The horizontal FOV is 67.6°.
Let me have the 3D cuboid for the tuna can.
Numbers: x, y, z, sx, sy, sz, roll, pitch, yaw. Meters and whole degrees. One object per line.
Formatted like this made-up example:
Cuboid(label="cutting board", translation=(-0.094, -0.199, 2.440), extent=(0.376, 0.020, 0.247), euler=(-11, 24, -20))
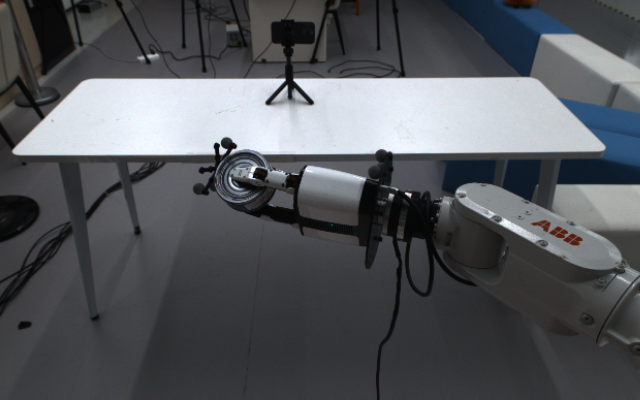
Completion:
Cuboid(label="tuna can", translation=(-0.105, -0.029, 0.692), extent=(0.085, 0.034, 0.085), euler=(-3, 70, 9))
